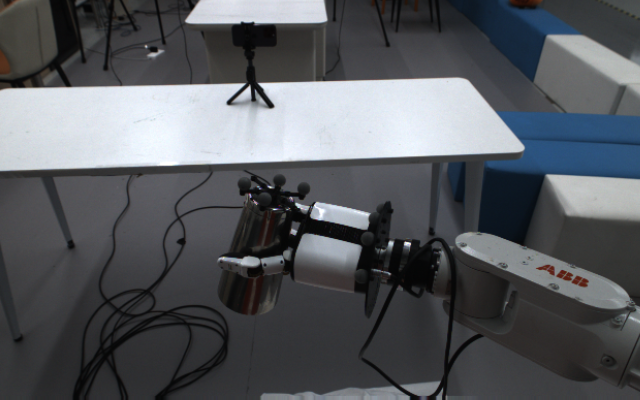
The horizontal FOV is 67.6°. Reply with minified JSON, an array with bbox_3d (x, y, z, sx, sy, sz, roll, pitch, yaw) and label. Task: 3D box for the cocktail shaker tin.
[{"bbox_3d":[-0.084,0.067,0.683,0.093,0.170,0.093,12,29,-7],"label":"cocktail shaker tin"}]
